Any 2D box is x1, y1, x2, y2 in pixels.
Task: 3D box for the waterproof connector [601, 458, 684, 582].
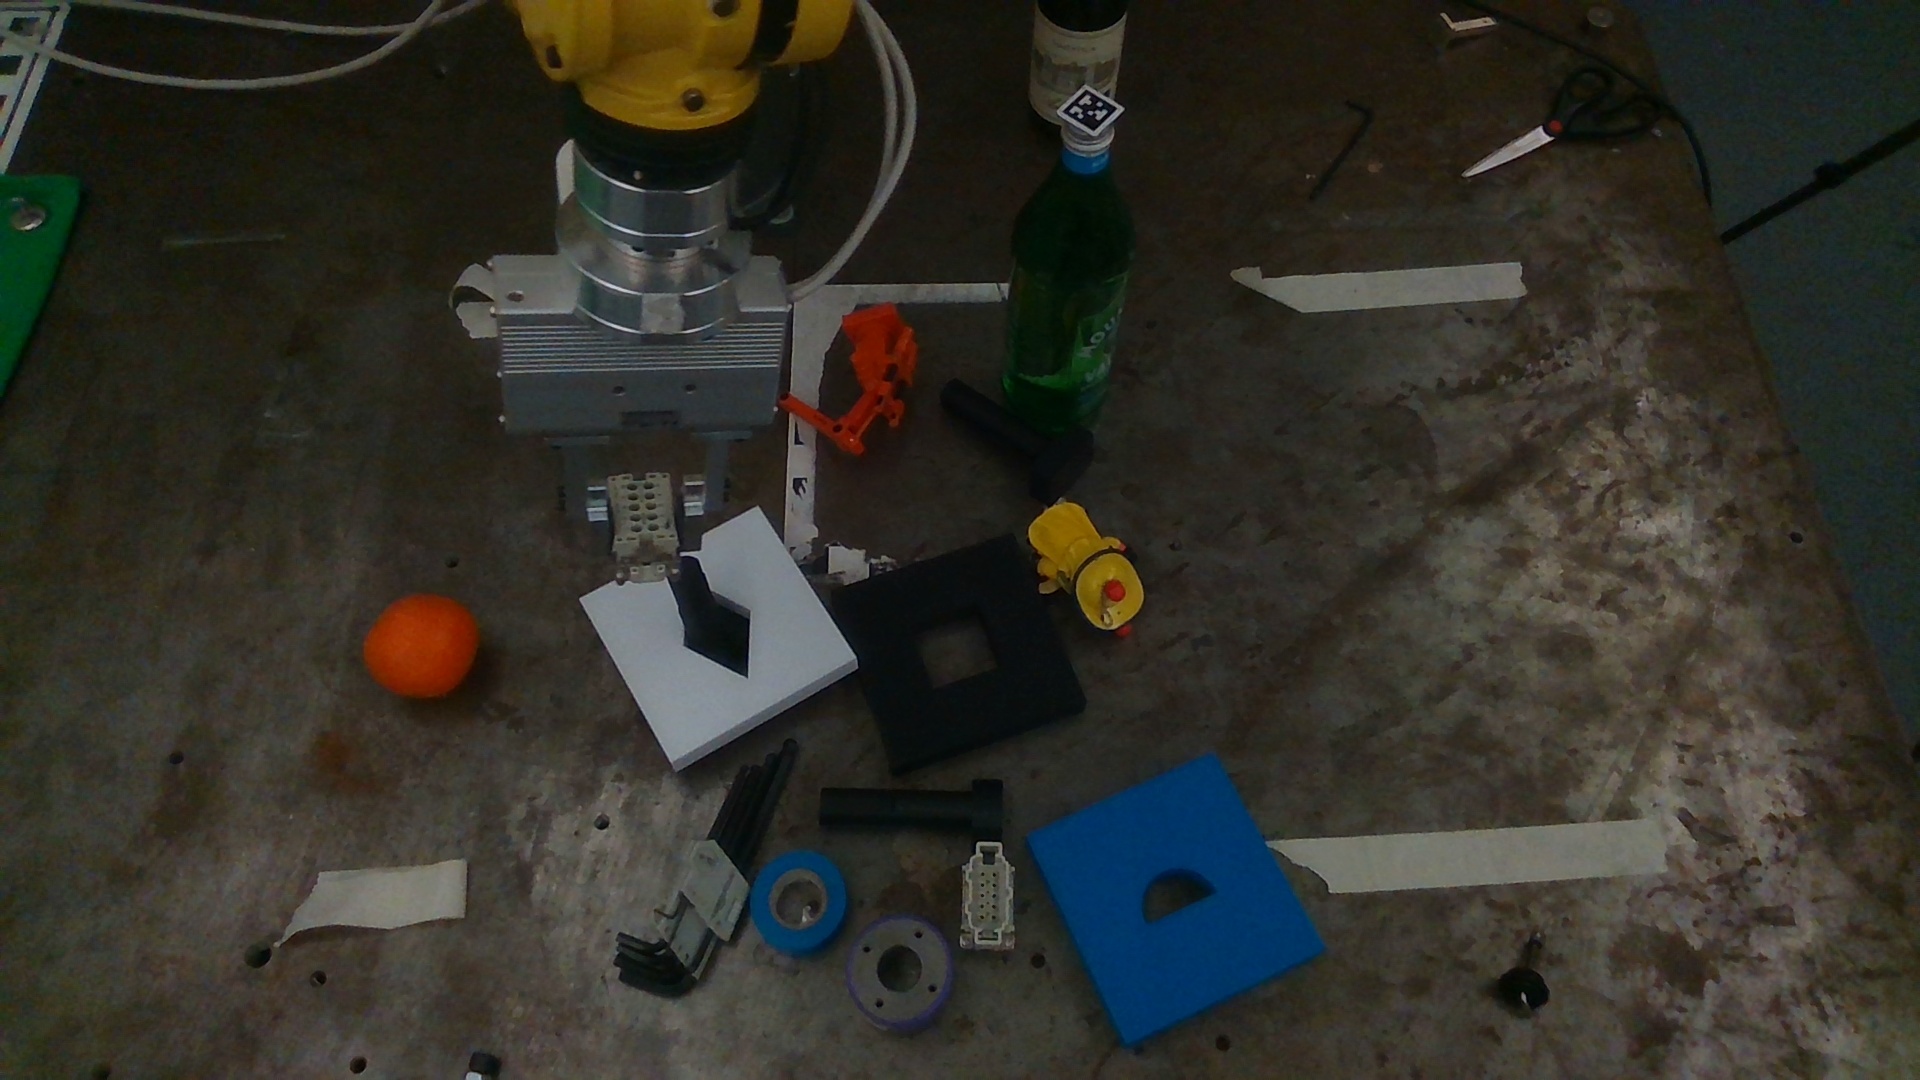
[{"bbox_3d":[-0.165,-0.011,0.717,0.036,0.039,0.069,-1,60,-21],"label":"waterproof connector"}]
